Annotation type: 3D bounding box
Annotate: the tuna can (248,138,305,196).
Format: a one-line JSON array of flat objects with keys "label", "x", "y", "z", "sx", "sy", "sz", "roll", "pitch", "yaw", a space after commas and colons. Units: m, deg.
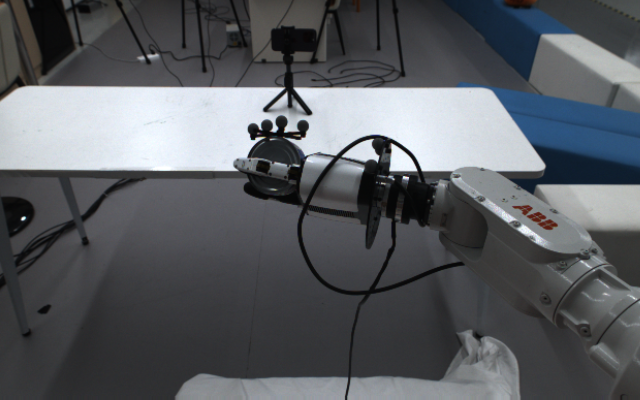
[{"label": "tuna can", "x": -0.063, "y": -0.049, "z": 0.714, "sx": 0.085, "sy": 0.085, "sz": 0.034, "roll": 15, "pitch": 1, "yaw": 18}]
